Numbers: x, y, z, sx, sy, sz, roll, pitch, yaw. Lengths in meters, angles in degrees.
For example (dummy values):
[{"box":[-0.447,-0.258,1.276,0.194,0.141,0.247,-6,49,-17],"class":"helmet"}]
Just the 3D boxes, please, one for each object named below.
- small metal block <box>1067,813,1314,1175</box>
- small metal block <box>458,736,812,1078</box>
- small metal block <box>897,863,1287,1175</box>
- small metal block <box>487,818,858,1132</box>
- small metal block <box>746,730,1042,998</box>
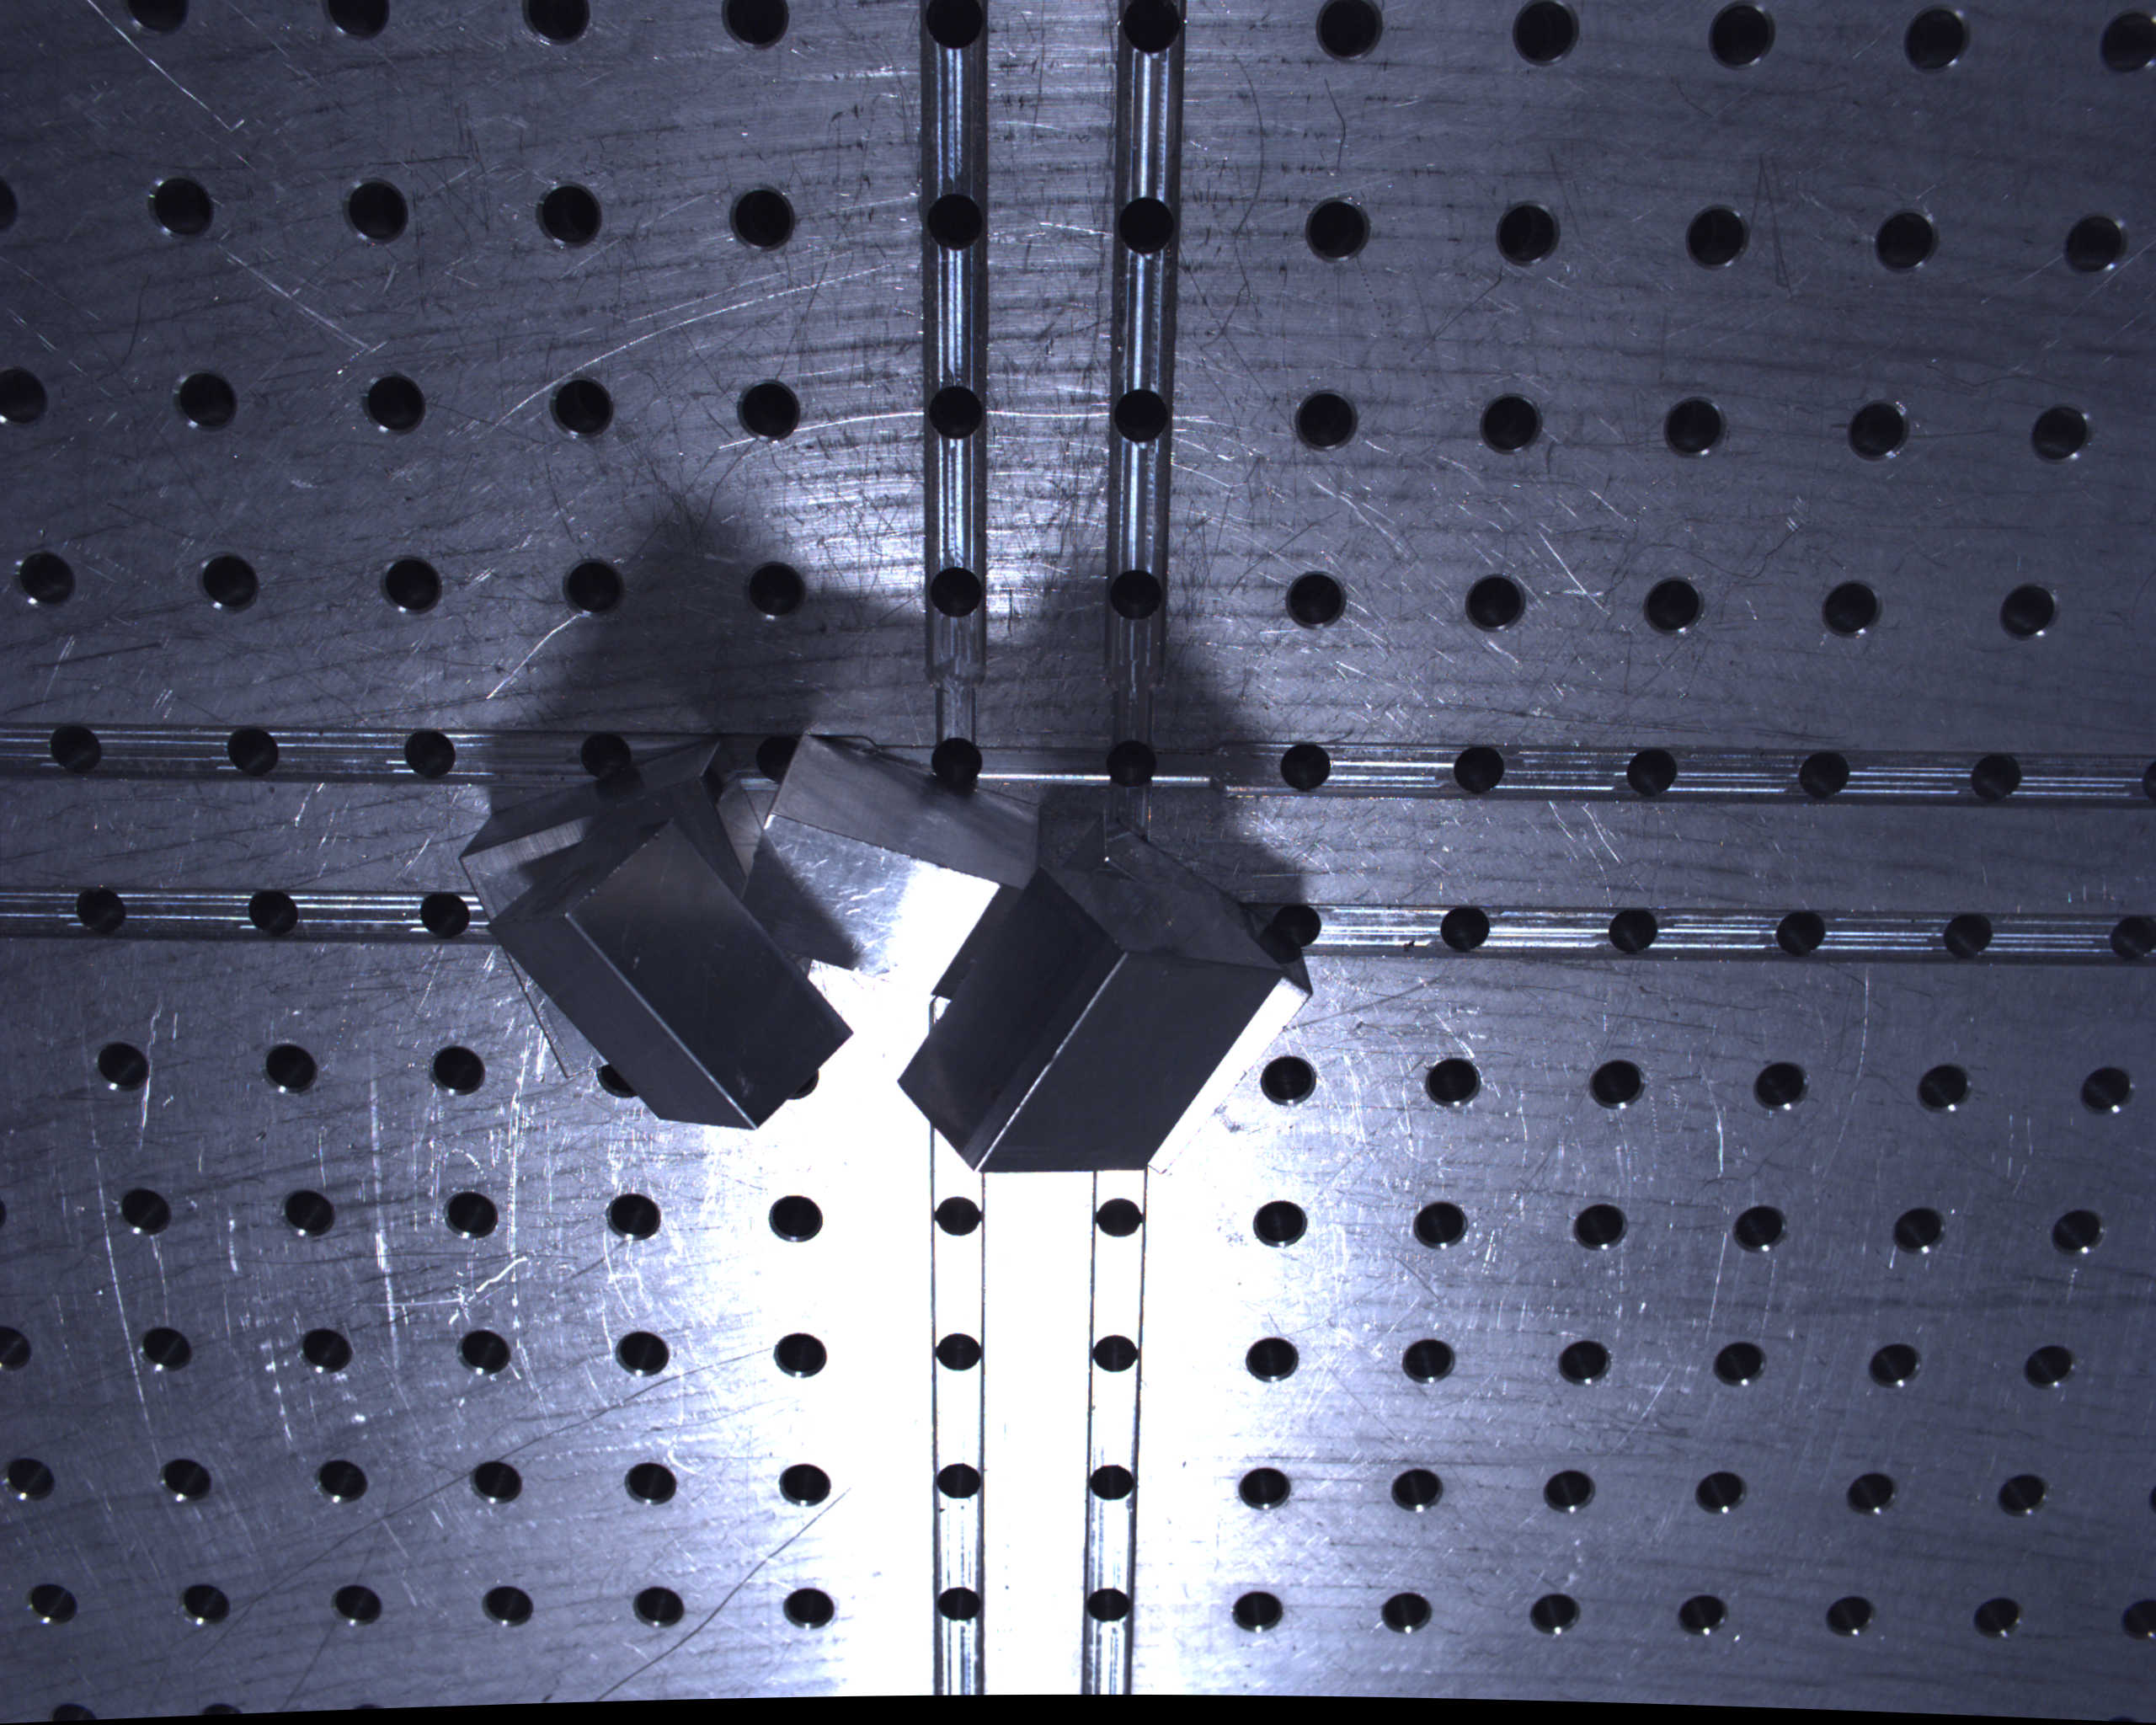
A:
[{"box":[0.011,0.027,0.424,0.050,0.025,0.050,34,106,-12],"class":"small metal block"},{"box":[-0.086,0.009,0.416,0.050,0.025,0.050,-18,109,6],"class":"small metal block"},{"box":[0.003,0.030,0.383,0.050,0.025,0.050,11,118,-52],"class":"small metal block"},{"box":[-0.074,0.021,0.377,0.025,0.050,0.050,-46,108,-25],"class":"small metal block"},{"box":[-0.035,0.001,0.400,0.050,0.050,0.025,18,109,-7],"class":"small metal block"}]
